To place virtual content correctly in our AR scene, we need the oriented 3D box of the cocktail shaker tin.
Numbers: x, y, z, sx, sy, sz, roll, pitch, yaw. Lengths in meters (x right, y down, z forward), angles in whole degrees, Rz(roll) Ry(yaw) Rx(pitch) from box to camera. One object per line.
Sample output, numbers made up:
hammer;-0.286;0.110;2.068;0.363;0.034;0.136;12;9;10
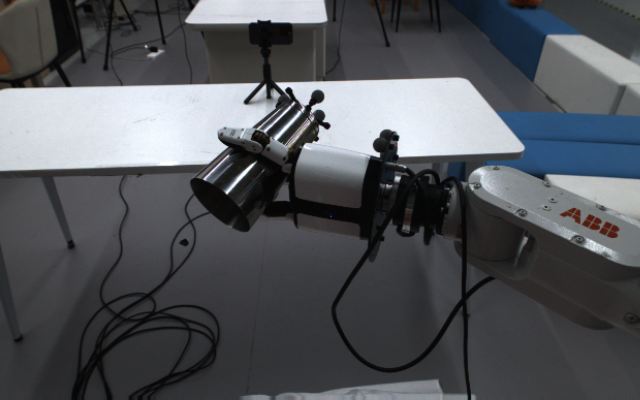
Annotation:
cocktail shaker tin;-0.075;-0.057;0.623;0.093;0.093;0.170;23;57;27
